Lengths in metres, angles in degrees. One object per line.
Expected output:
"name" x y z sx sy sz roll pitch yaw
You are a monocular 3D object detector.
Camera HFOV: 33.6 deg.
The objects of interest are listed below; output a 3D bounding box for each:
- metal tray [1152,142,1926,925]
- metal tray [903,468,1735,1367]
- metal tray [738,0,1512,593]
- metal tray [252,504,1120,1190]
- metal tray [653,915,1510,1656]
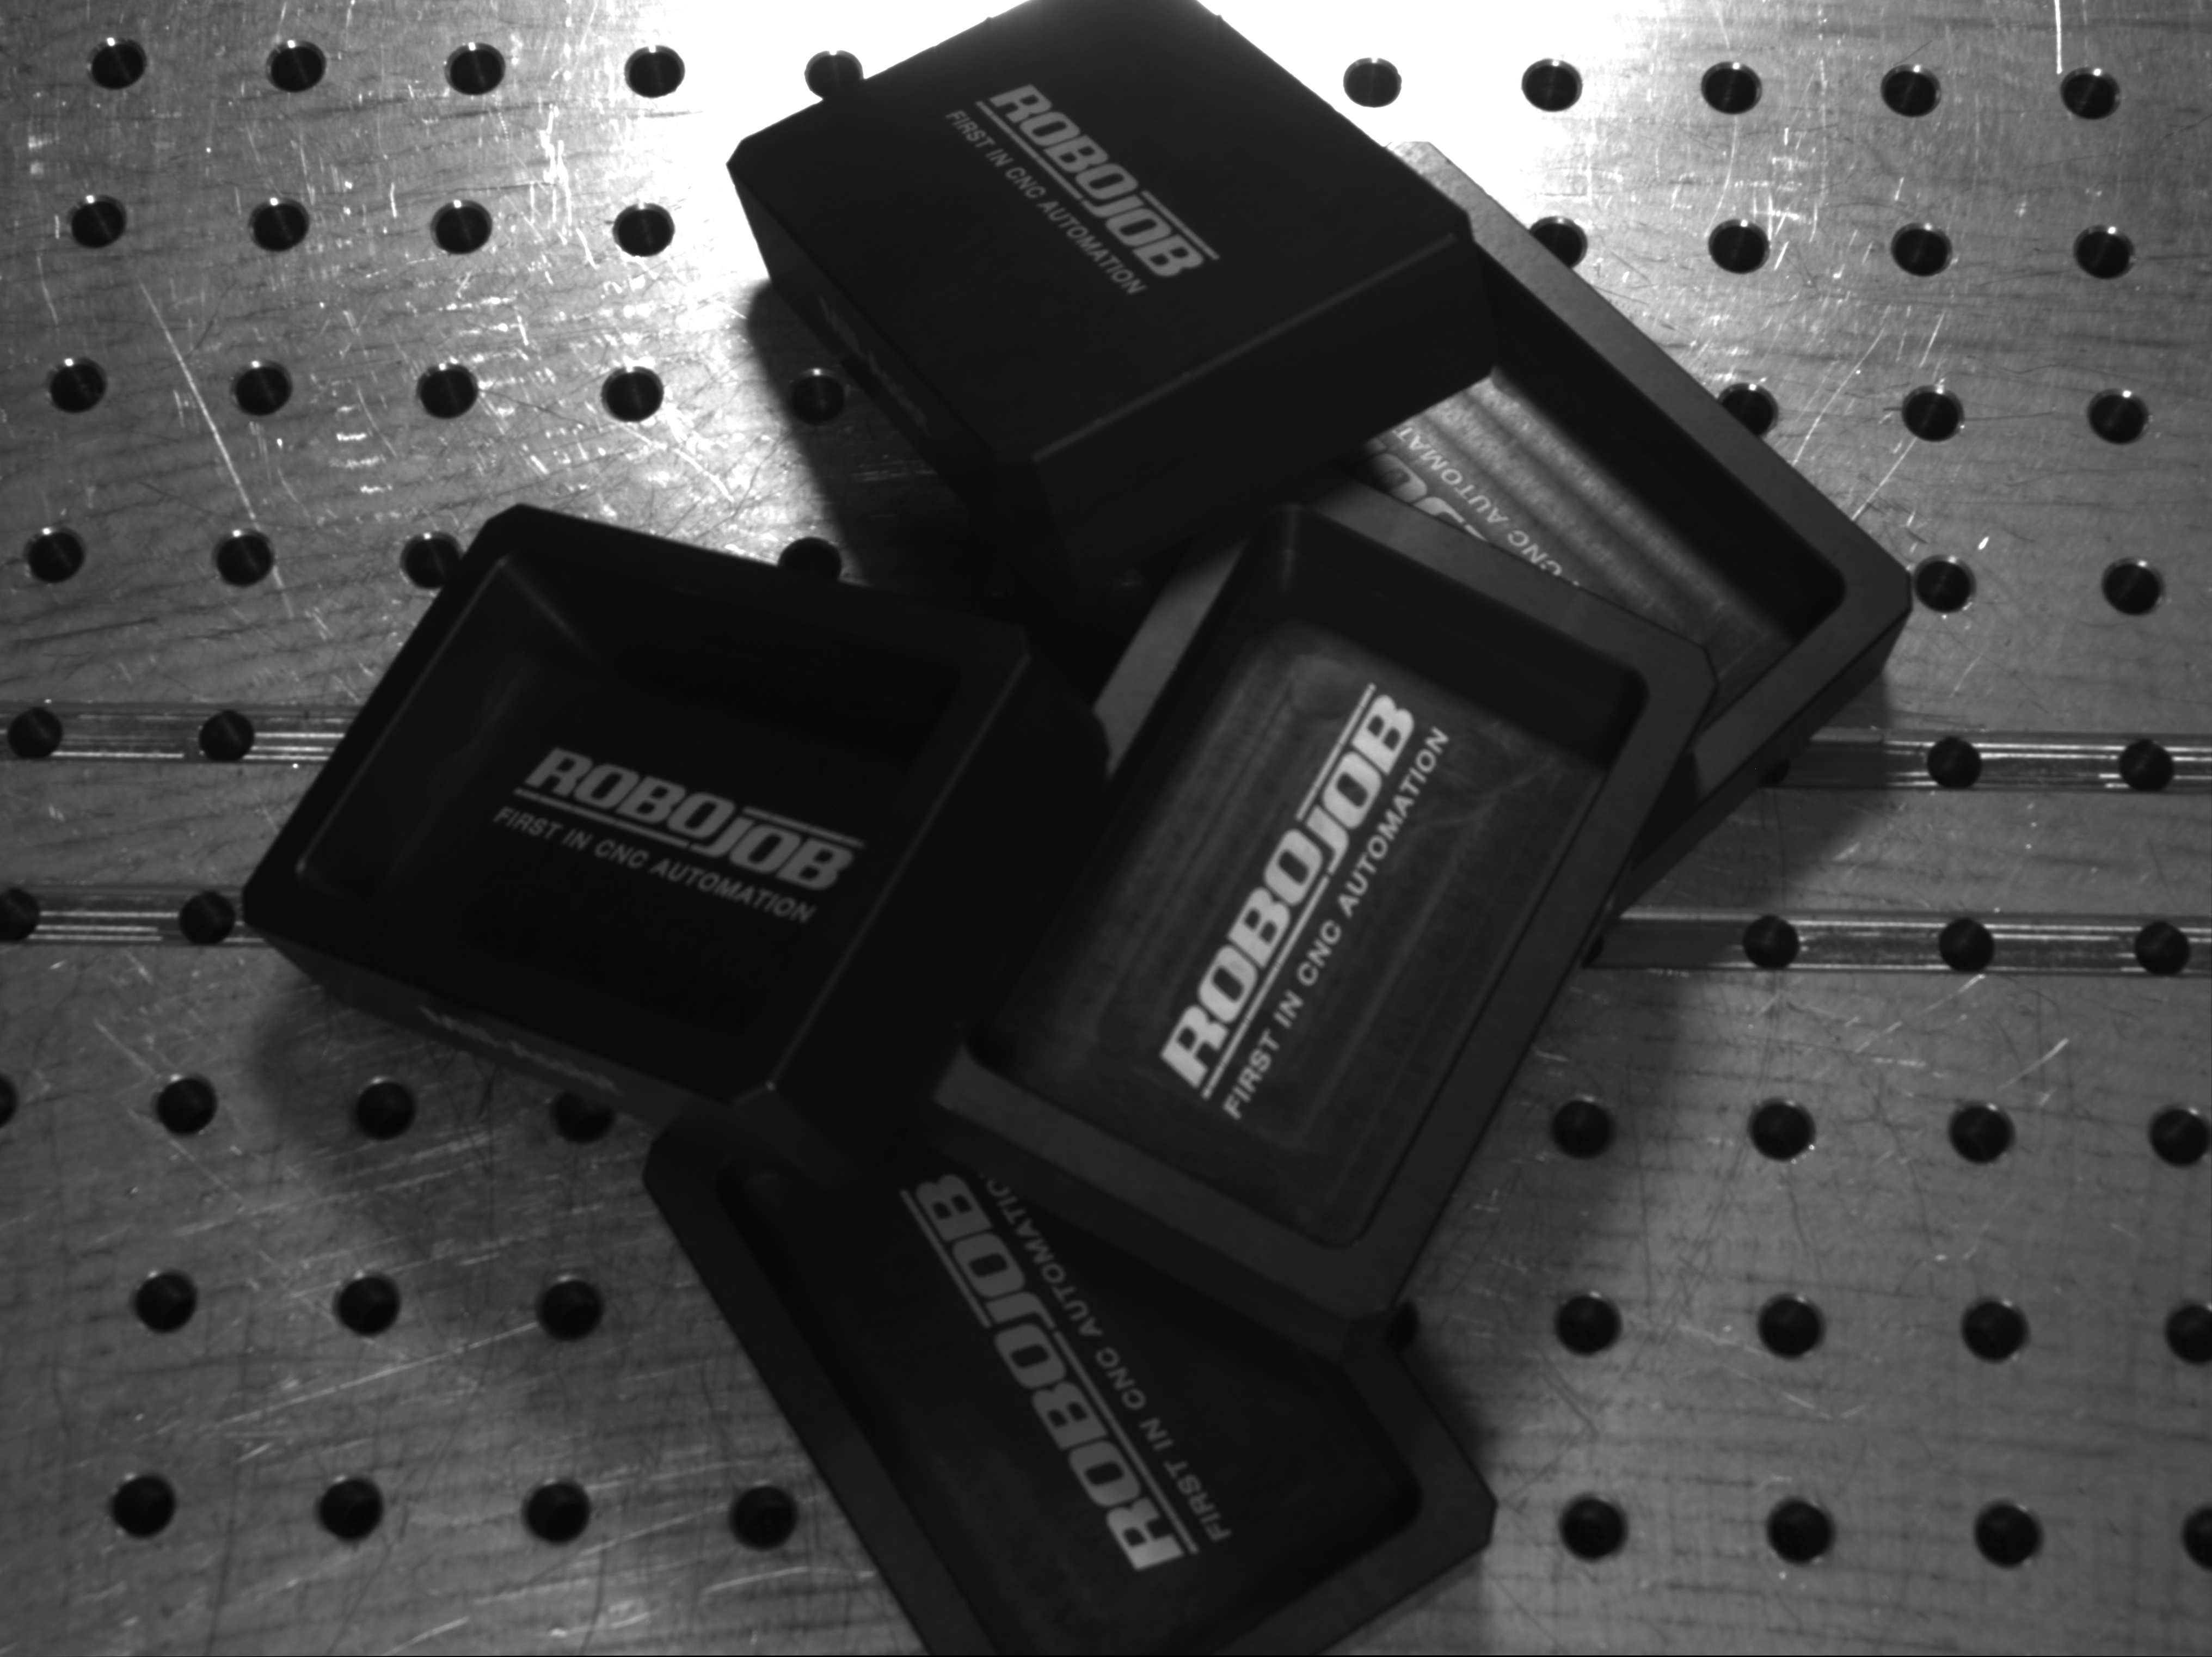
"metal tray" 0.071 -0.052 0.663 0.090 0.030 0.130 -41 75 -14
"metal tray" 0.036 0.011 0.609 0.090 0.030 0.130 27 72 10
"metal tray" 0.001 -0.102 0.650 0.090 0.030 0.130 -29 42 -10
"metal tray" -0.072 -0.001 0.612 0.130 0.030 0.090 16 67 38
"metal tray" -0.005 0.089 0.612 0.090 0.030 0.130 -31 73 -11
